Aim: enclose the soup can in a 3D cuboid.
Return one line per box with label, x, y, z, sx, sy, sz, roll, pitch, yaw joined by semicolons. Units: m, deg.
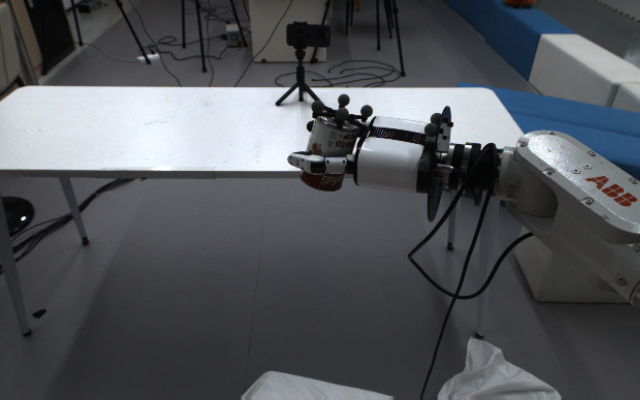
soup can;0.014;-0.073;0.706;0.067;0.101;0.067;13;30;-8
